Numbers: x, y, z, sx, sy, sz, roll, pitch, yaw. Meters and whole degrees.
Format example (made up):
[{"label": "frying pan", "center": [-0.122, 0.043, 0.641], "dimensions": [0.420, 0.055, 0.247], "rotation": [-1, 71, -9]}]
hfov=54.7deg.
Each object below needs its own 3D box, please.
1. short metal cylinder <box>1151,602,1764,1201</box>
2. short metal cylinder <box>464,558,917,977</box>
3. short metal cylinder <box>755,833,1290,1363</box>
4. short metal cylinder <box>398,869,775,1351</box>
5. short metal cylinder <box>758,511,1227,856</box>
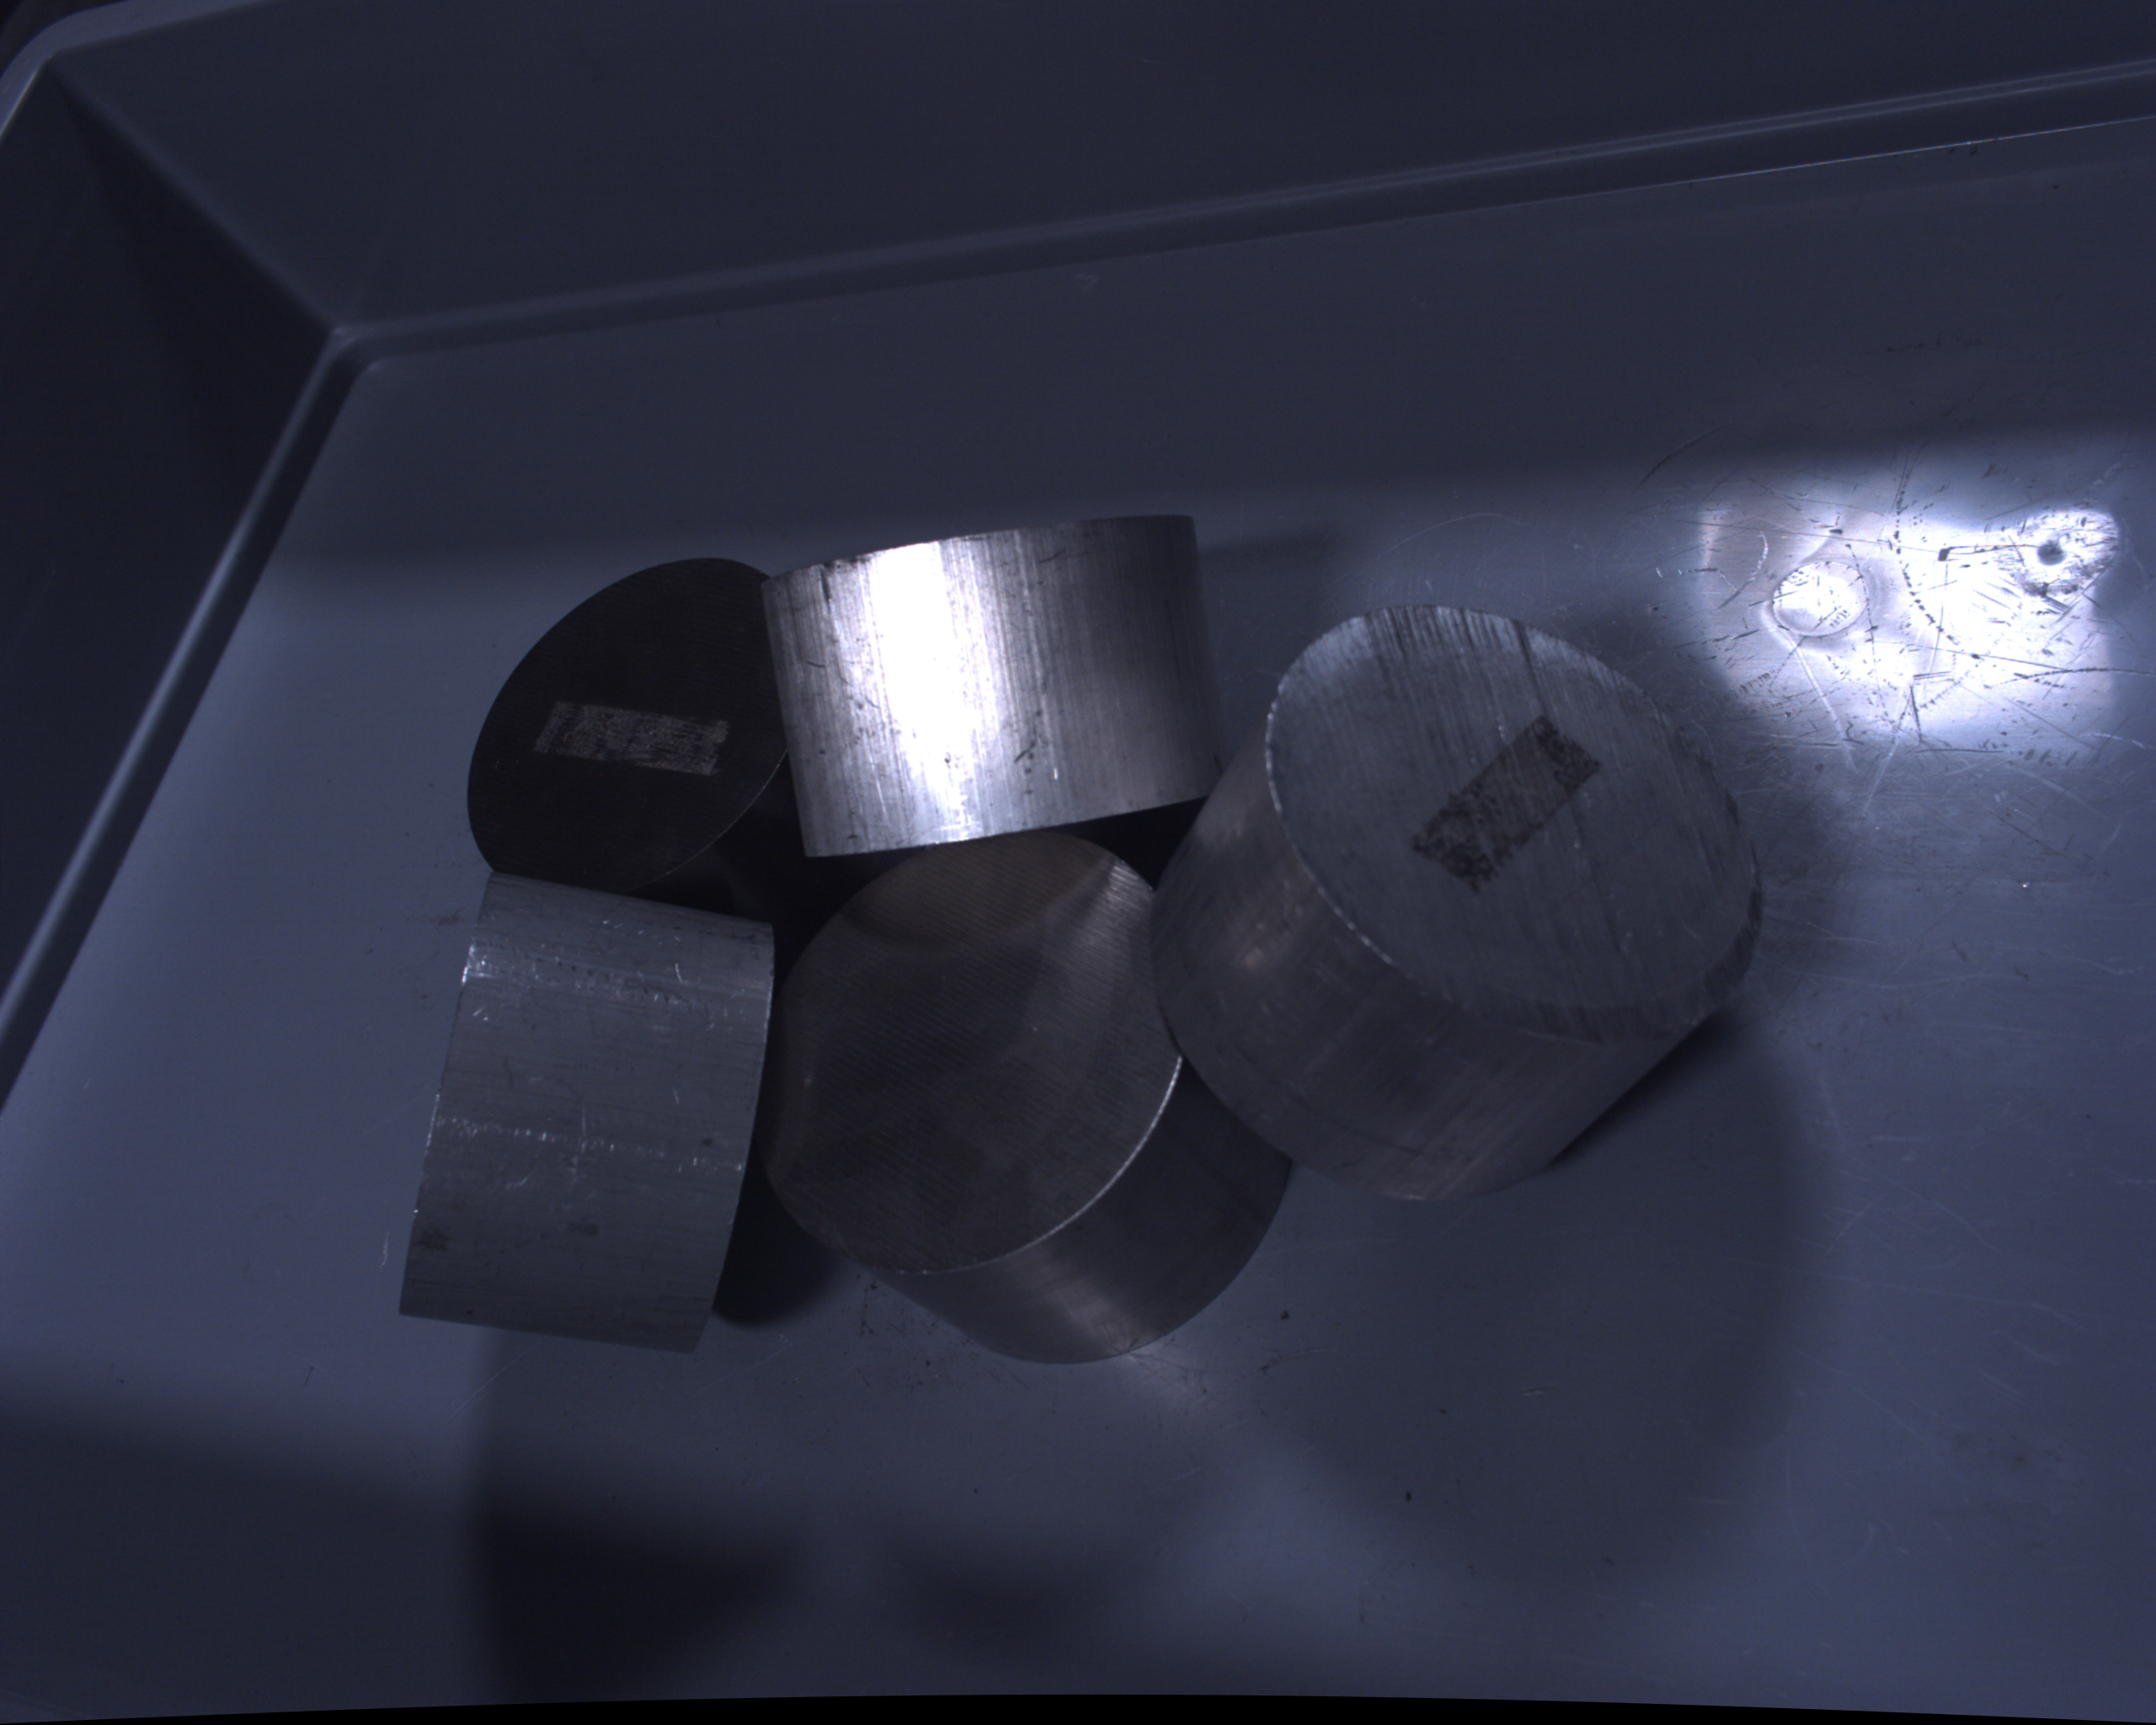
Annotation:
[{"label": "short metal cylinder", "center": [0.058, 0.006, 0.327], "dimensions": [0.081, 0.050, 0.080], "rotation": [11, 52, -14]}, {"label": "short metal cylinder", "center": [-0.079, -0.016, 0.436], "dimensions": [0.080, 0.050, 0.080], "rotation": [-13, 56, 20]}, {"label": "short metal cylinder", "center": [-0.009, 0.041, 0.366], "dimensions": [0.080, 0.050, 0.080], "rotation": [-13, 56, 20]}, {"label": "short metal cylinder", "center": [-0.089, 0.045, 0.377], "dimensions": [0.050, 0.080, 0.080], "rotation": [11, 59, -14]}, {"label": "short metal cylinder", "center": [-0.015, -0.033, 0.385], "dimensions": [0.080, 0.080, 0.050], "rotation": [-8, 94, 24]}]
